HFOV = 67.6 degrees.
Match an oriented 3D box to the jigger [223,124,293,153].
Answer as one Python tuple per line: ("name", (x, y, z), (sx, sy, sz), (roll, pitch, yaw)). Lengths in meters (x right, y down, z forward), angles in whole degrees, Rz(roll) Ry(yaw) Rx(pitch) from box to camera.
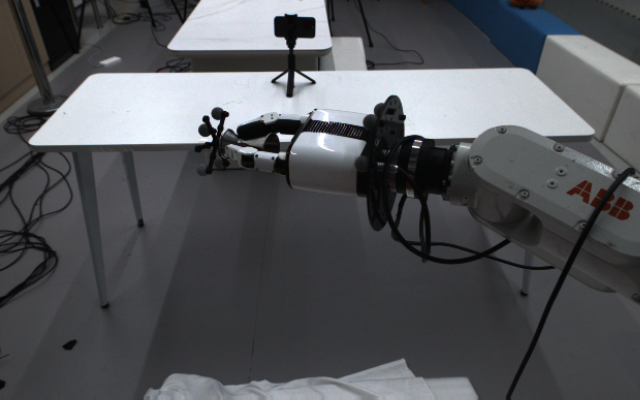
("jigger", (-0.087, -0.072, 0.633), (0.071, 0.043, 0.043), (10, 35, 22))
